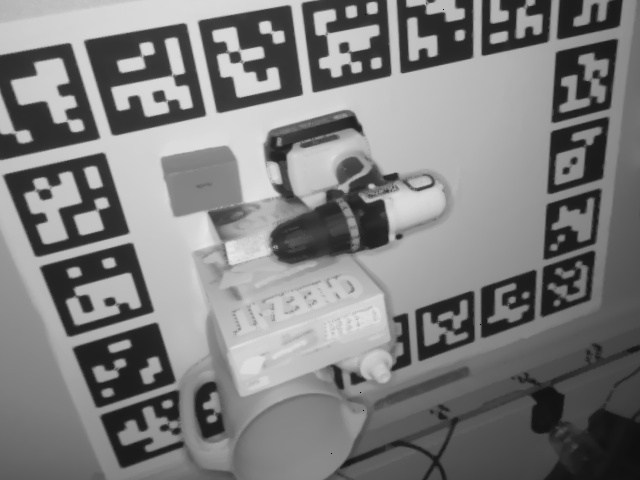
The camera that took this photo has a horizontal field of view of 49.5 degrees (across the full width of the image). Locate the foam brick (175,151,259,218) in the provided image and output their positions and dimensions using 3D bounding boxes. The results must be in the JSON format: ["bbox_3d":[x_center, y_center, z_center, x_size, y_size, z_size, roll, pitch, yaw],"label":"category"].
[{"bbox_3d":[-0.113,-0.061,0.759,0.079,0.051,0.052,-12,116,-15],"label":"foam brick"}]

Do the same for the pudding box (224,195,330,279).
[{"bbox_3d":[-0.041,-0.005,0.774,0.115,0.090,0.038,-15,120,-16],"label":"pudding box"}]

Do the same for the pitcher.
[{"bbox_3d":[-0.056,0.165,0.780,0.191,0.242,0.132,-9,117,-18],"label":"pitcher"}]

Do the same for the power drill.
[{"bbox_3d":[0.032,-0.045,0.702,0.186,0.187,0.057,-15,122,-12],"label":"power drill"}]

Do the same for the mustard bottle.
[{"bbox_3d":[0.066,0.127,0.822,0.097,0.191,0.058,-2,114,-19],"label":"mustard bottle"}]

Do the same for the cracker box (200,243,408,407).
[{"bbox_3d":[-0.026,0.062,0.749,0.166,0.213,0.071,-17,121,-14],"label":"cracker box"}]
